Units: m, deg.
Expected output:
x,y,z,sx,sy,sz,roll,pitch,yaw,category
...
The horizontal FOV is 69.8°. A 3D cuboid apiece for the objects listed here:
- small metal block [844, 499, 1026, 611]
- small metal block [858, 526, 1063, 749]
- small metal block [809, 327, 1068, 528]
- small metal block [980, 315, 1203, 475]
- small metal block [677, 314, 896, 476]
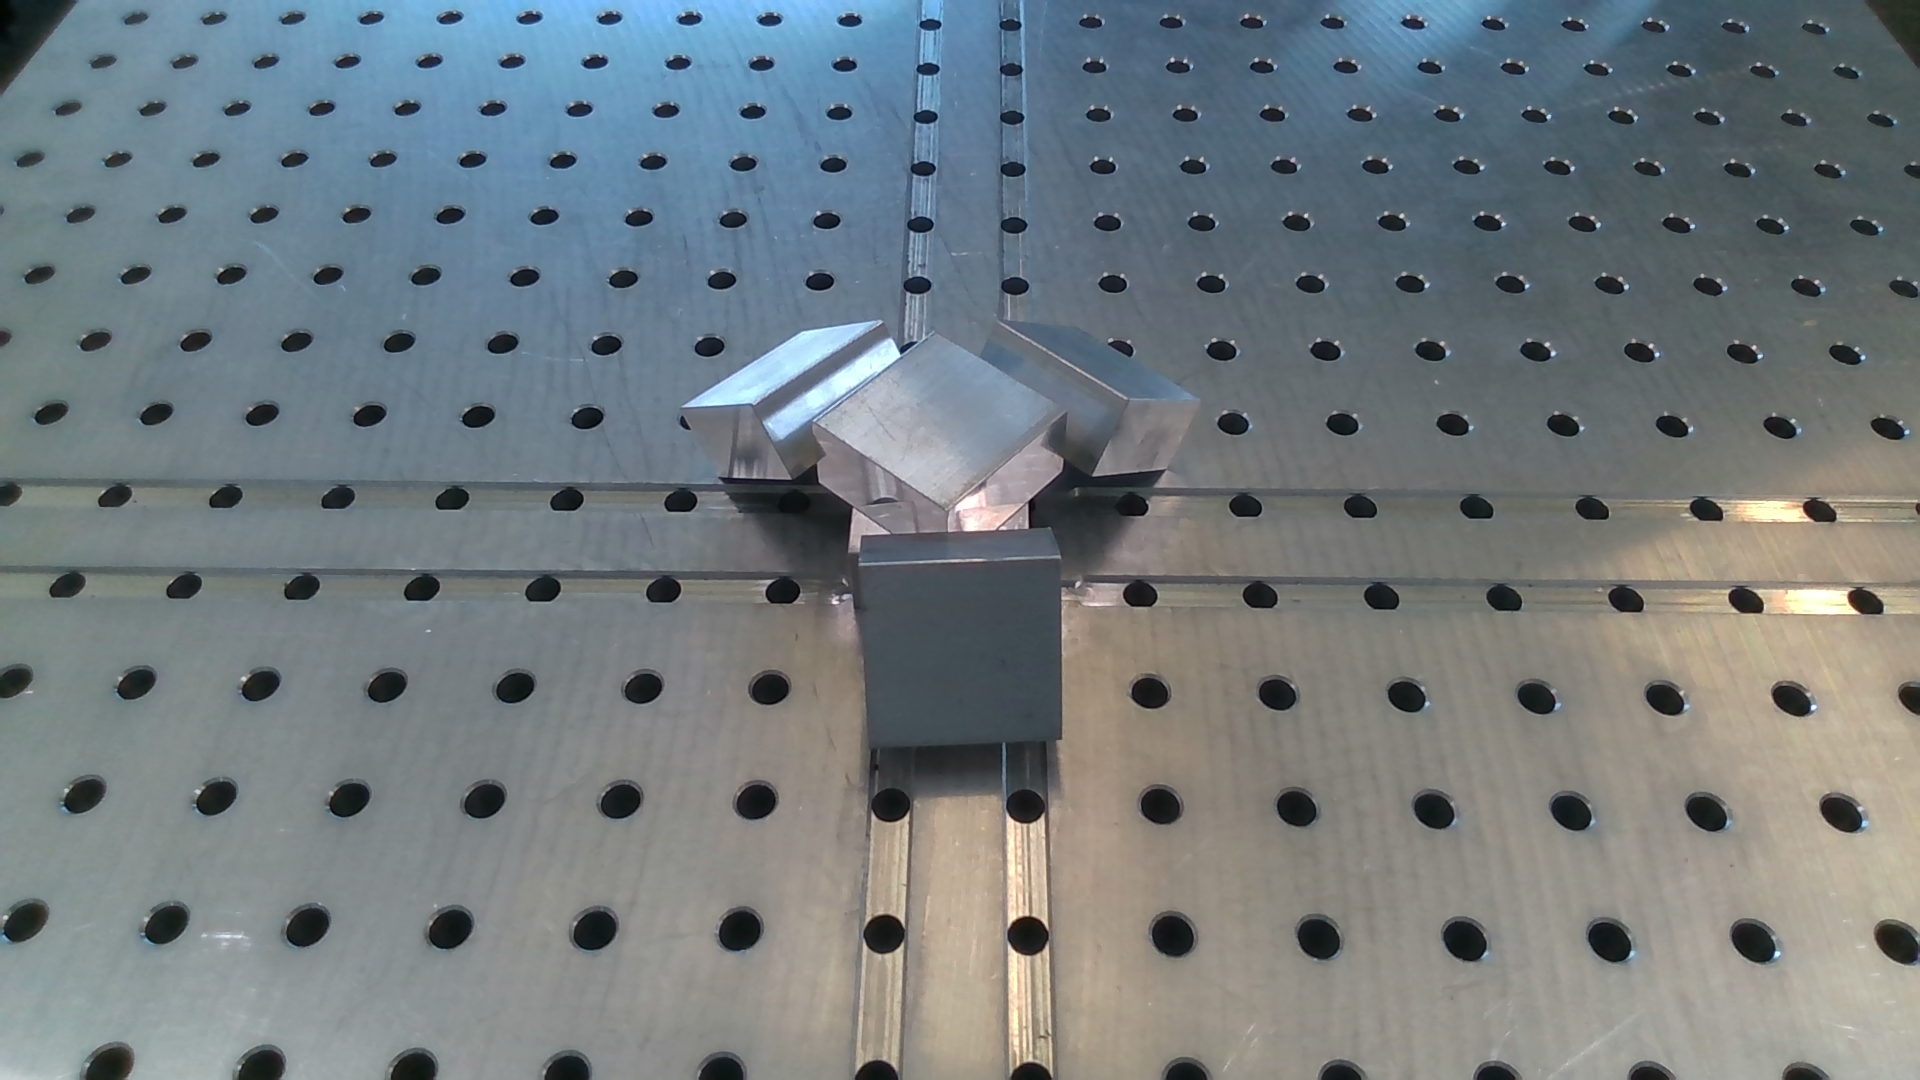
x,y,z,sx,sy,sz,roll,pitch,yaw,category
-0.006,-0.007,0.403,0.050,0.025,0.050,-1,50,3,small metal block
0.000,0.025,0.356,0.050,0.050,0.025,-2,18,-2,small metal block
-0.006,-0.027,0.386,0.050,0.025,0.050,34,58,25,small metal block
0.038,-0.044,0.417,0.050,0.025,0.050,36,23,26,small metal block
-0.049,-0.043,0.416,0.050,0.025,0.050,-38,22,-27,small metal block
